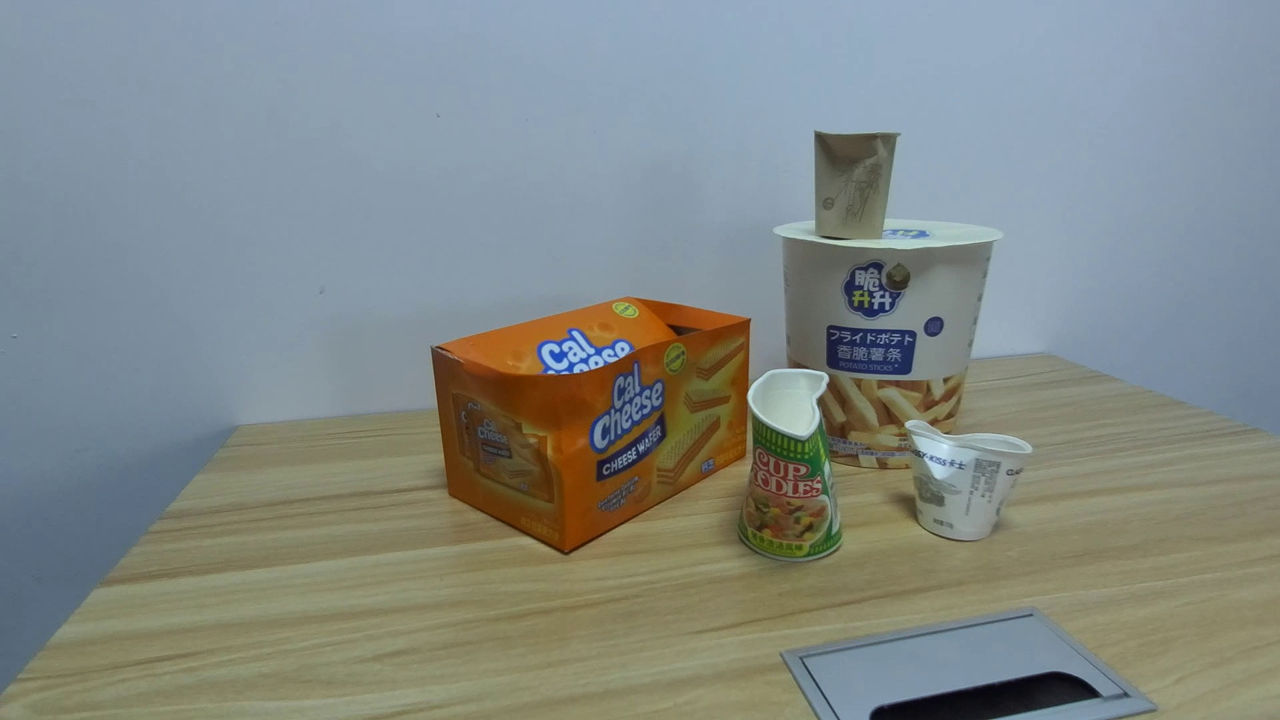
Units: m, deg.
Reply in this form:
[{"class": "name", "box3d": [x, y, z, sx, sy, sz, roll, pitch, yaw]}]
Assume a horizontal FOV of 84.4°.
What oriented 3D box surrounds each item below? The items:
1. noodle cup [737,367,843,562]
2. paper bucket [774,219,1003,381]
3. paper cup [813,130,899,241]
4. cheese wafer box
[{"class": "noodle cup", "box3d": [0.104, 0.071, 0.478, 0.070, 0.111, 0.115, 11, 22, 36]}, {"class": "paper bucket", "box3d": [0.211, -0.020, 0.637, 0.198, 0.194, 0.198, -1, 17, 1]}, {"class": "paper cup", "box3d": [0.177, -0.141, 0.571, 0.072, 0.084, 0.066, -8, 17, -41]}, {"class": "cheese wafer box", "box3d": [-0.030, 0.039, 0.576, 0.151, 0.132, 0.231, 16, 23, 40]}]
